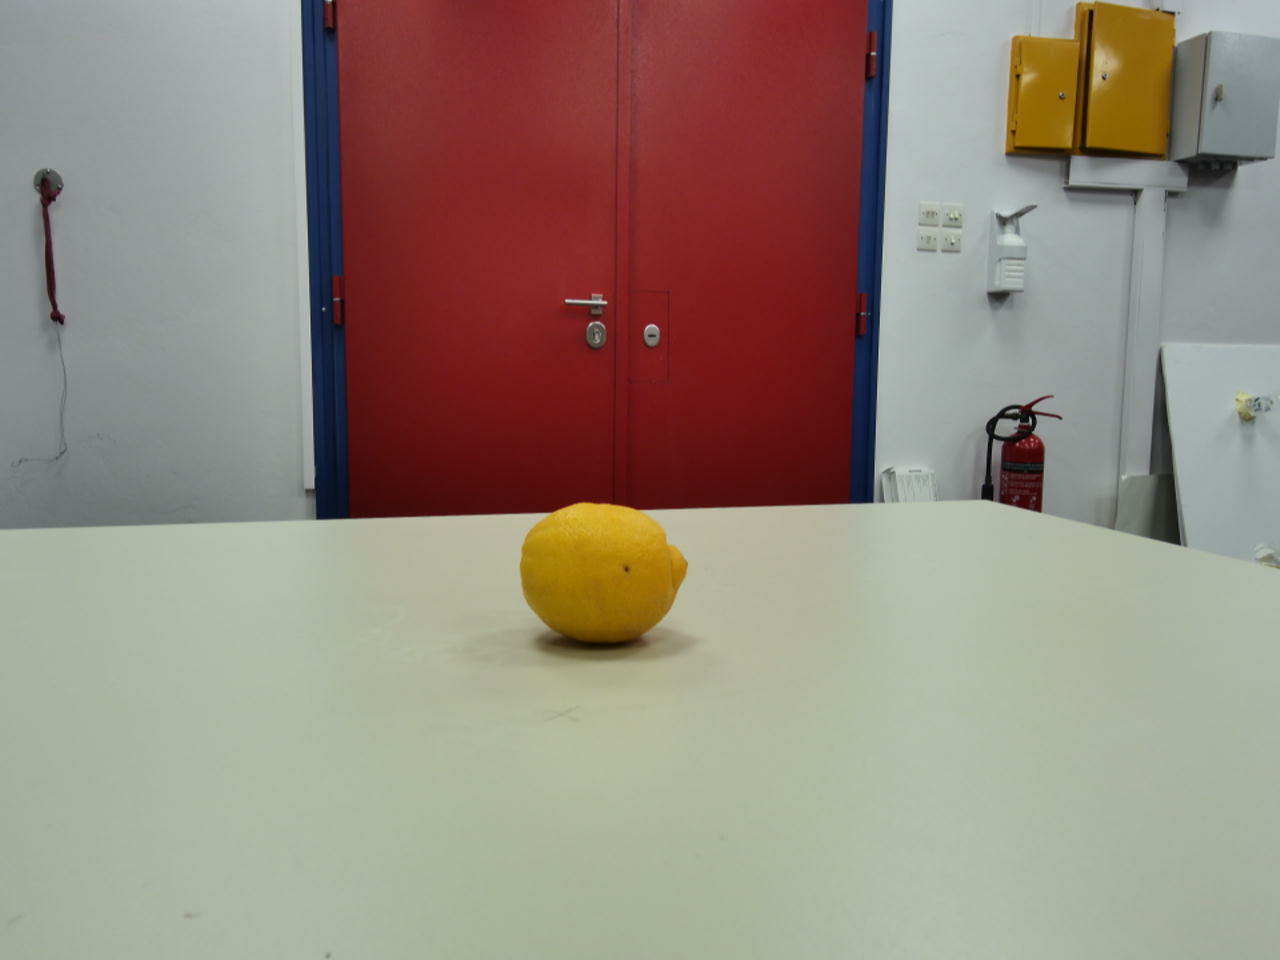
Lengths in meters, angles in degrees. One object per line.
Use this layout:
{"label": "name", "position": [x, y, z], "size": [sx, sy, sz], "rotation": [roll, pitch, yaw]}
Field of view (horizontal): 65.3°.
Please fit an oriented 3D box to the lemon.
{"label": "lemon", "position": [-0.017, 0.040, 0.429], "size": [0.067, 0.059, 0.060], "rotation": [3, 5, 29]}
